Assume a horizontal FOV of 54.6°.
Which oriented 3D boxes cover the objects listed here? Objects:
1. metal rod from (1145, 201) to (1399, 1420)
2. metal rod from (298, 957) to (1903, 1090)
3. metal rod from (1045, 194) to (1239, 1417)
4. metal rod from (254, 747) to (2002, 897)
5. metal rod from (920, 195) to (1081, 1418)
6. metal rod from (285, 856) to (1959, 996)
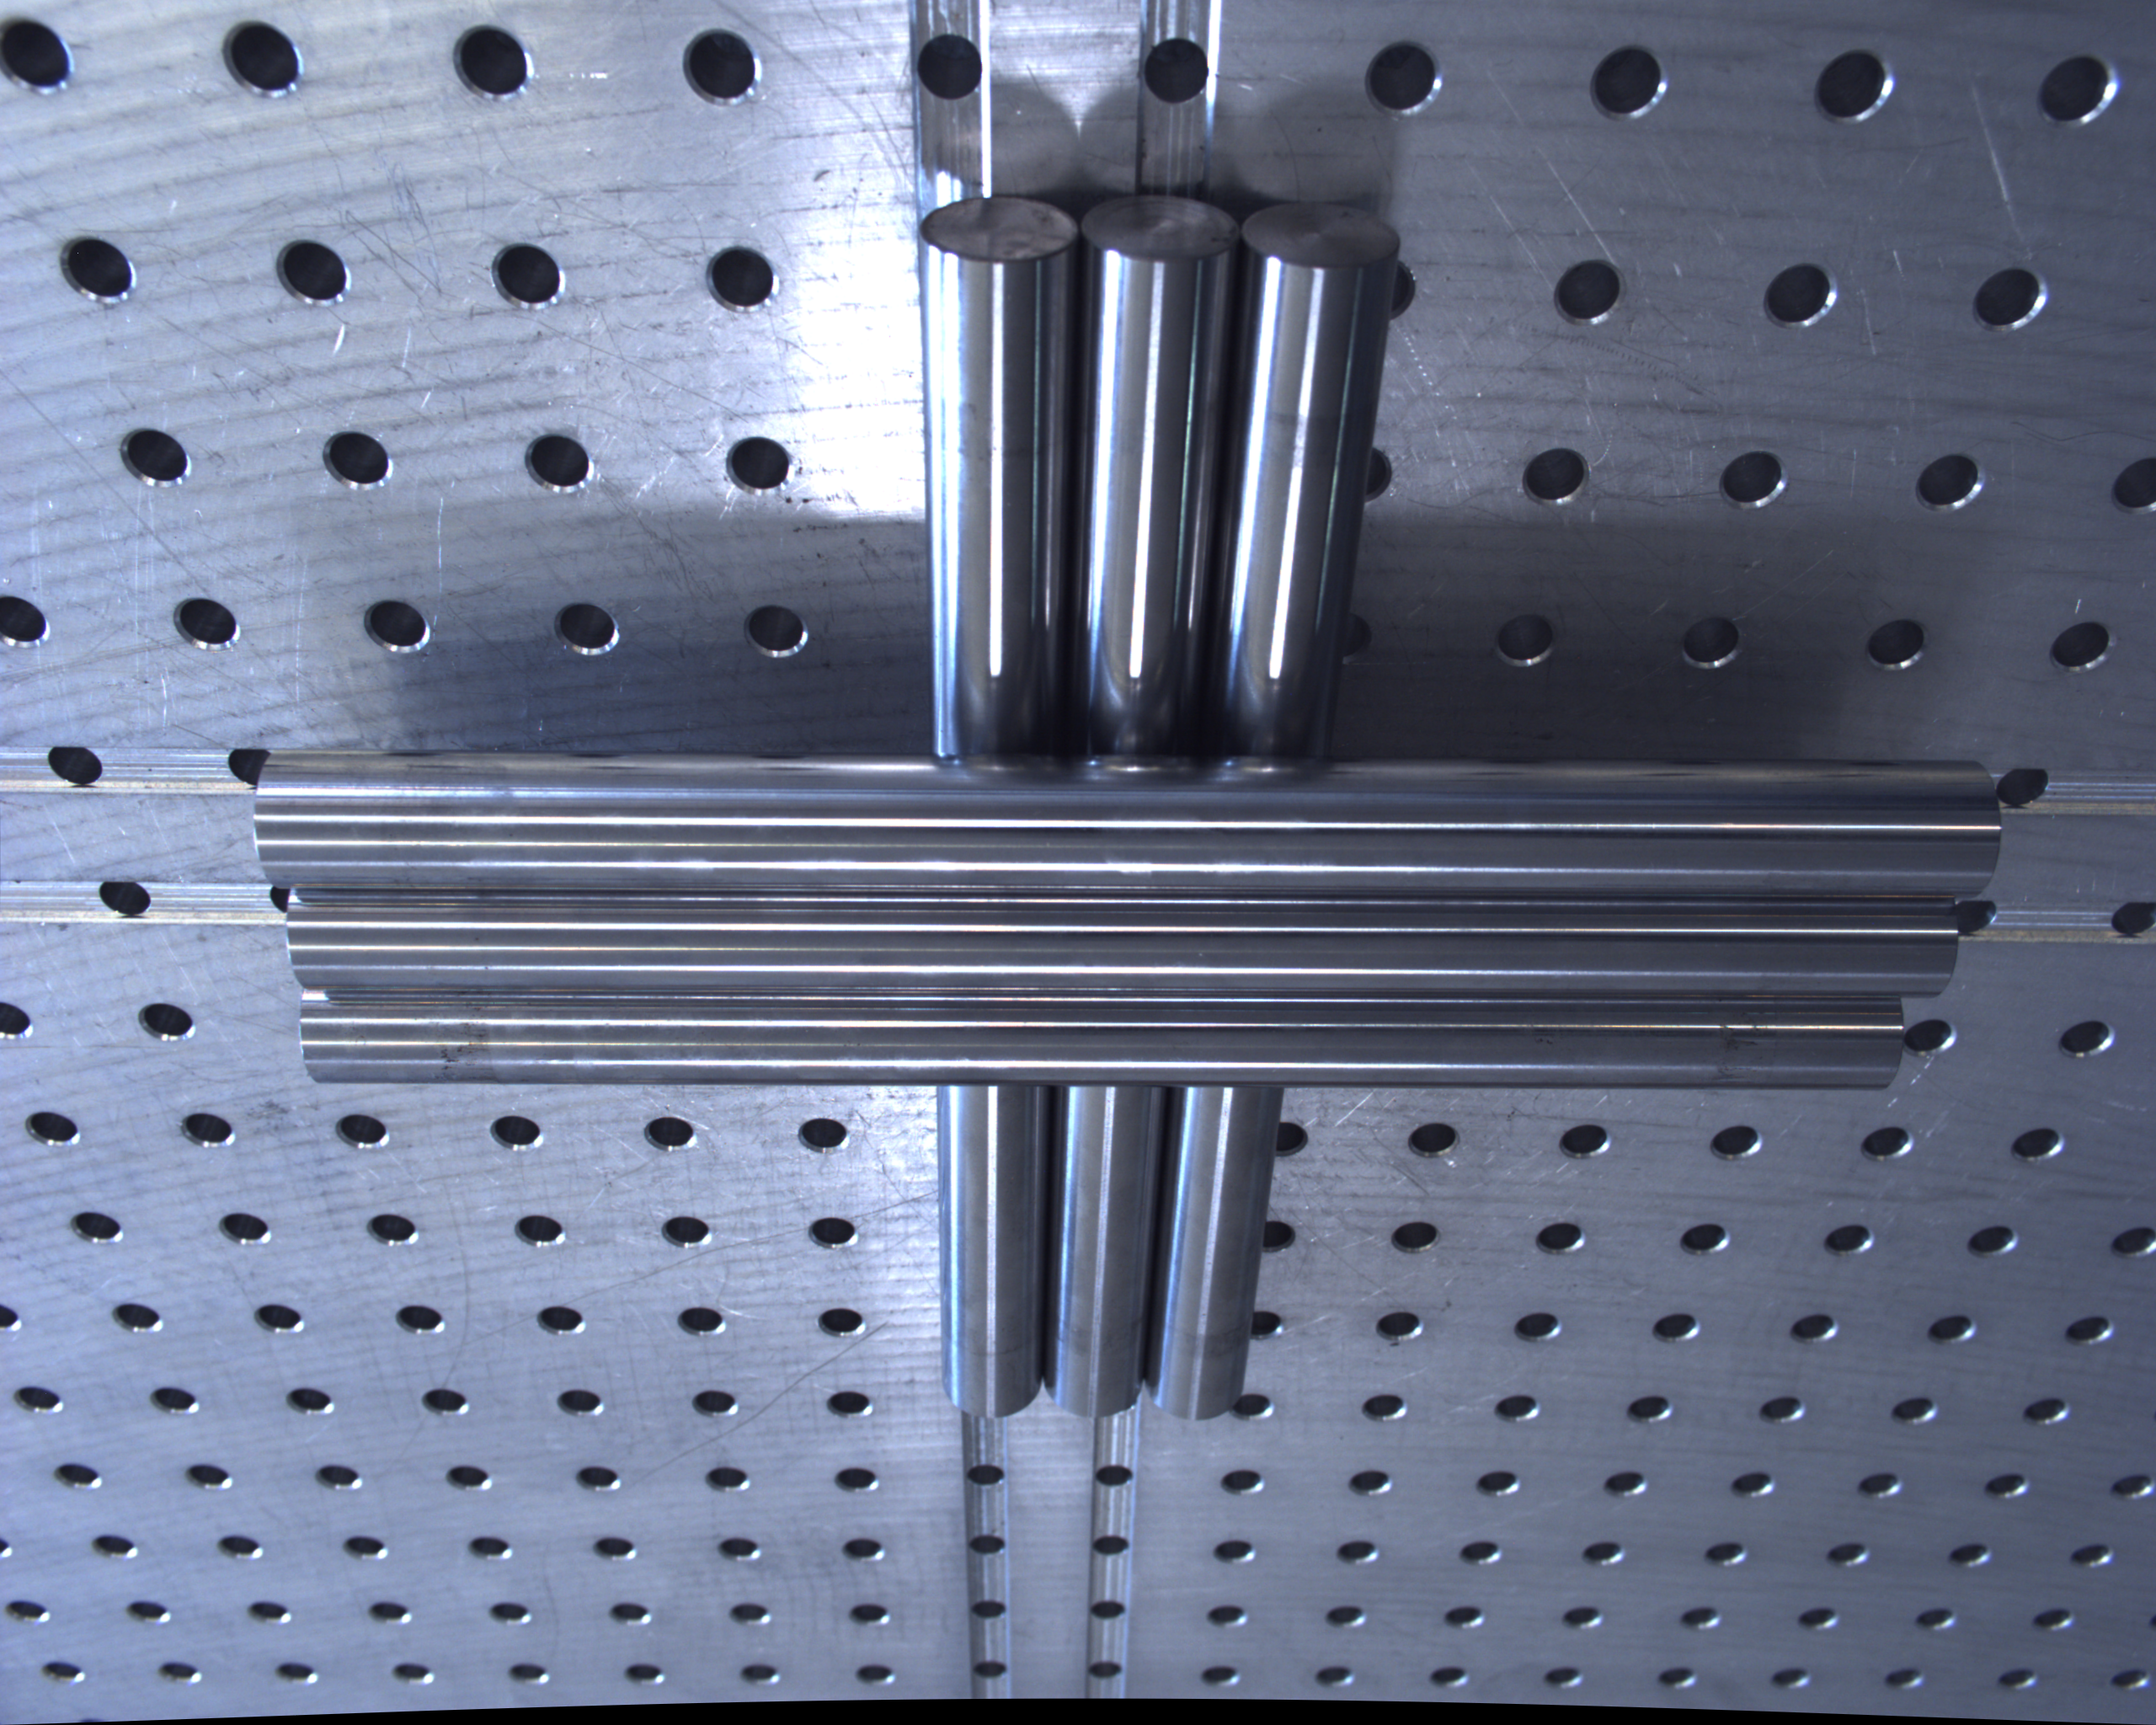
[{"bbox_3d":[0.033,0.015,0.424,0.025,0.025,0.298,1,130,-1],"label":"metal rod"},{"bbox_3d":[0.005,0.031,0.405,0.302,0.025,0.025,0,130,-1],"label":"metal rod"},{"bbox_3d":[0.008,0.014,0.423,0.025,0.025,0.298,1,130,-1],"label":"metal rod"},{"bbox_3d":[0.009,-0.007,0.372,0.302,0.025,0.025,0,130,-1],"label":"metal rod"},{"bbox_3d":[-0.017,0.014,0.423,0.025,0.025,0.298,1,130,-1],"label":"metal rod"},{"bbox_3d":[0.009,0.012,0.389,0.302,0.025,0.025,0,130,-1],"label":"metal rod"}]
